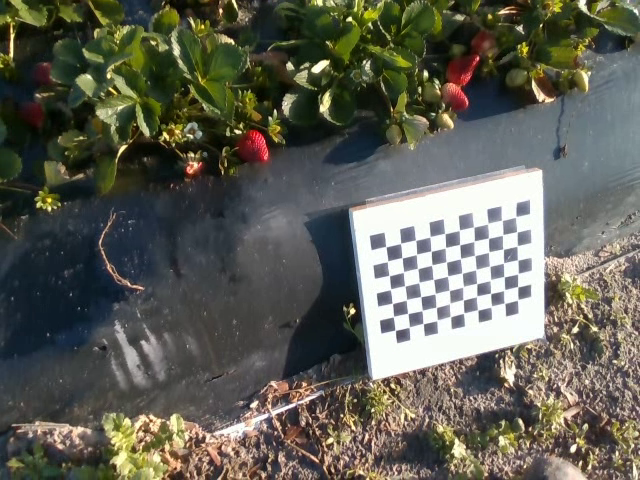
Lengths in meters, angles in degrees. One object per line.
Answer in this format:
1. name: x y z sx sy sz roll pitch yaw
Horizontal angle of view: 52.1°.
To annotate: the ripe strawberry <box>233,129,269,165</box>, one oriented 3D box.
1. ripe strawberry: -0.090 -0.124 0.887 0.052 0.052 0.041 48 0 36
